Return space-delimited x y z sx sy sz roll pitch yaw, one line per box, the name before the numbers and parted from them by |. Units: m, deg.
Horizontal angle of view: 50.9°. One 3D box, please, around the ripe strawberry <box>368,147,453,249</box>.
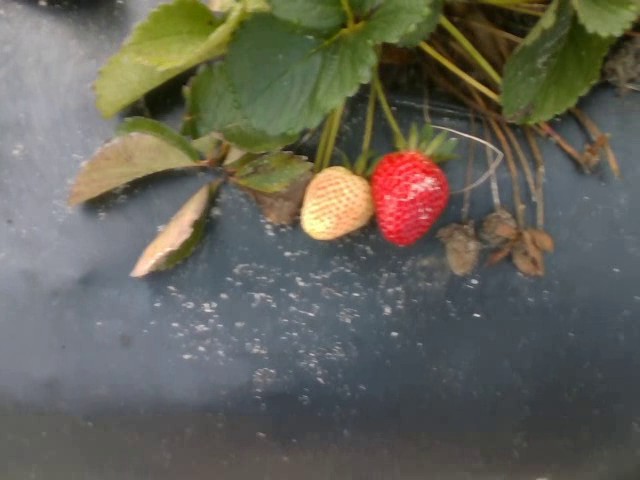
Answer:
ripe strawberry | 0.033 -0.015 0.244 0.034 0.042 0.033 30 -36 -10
